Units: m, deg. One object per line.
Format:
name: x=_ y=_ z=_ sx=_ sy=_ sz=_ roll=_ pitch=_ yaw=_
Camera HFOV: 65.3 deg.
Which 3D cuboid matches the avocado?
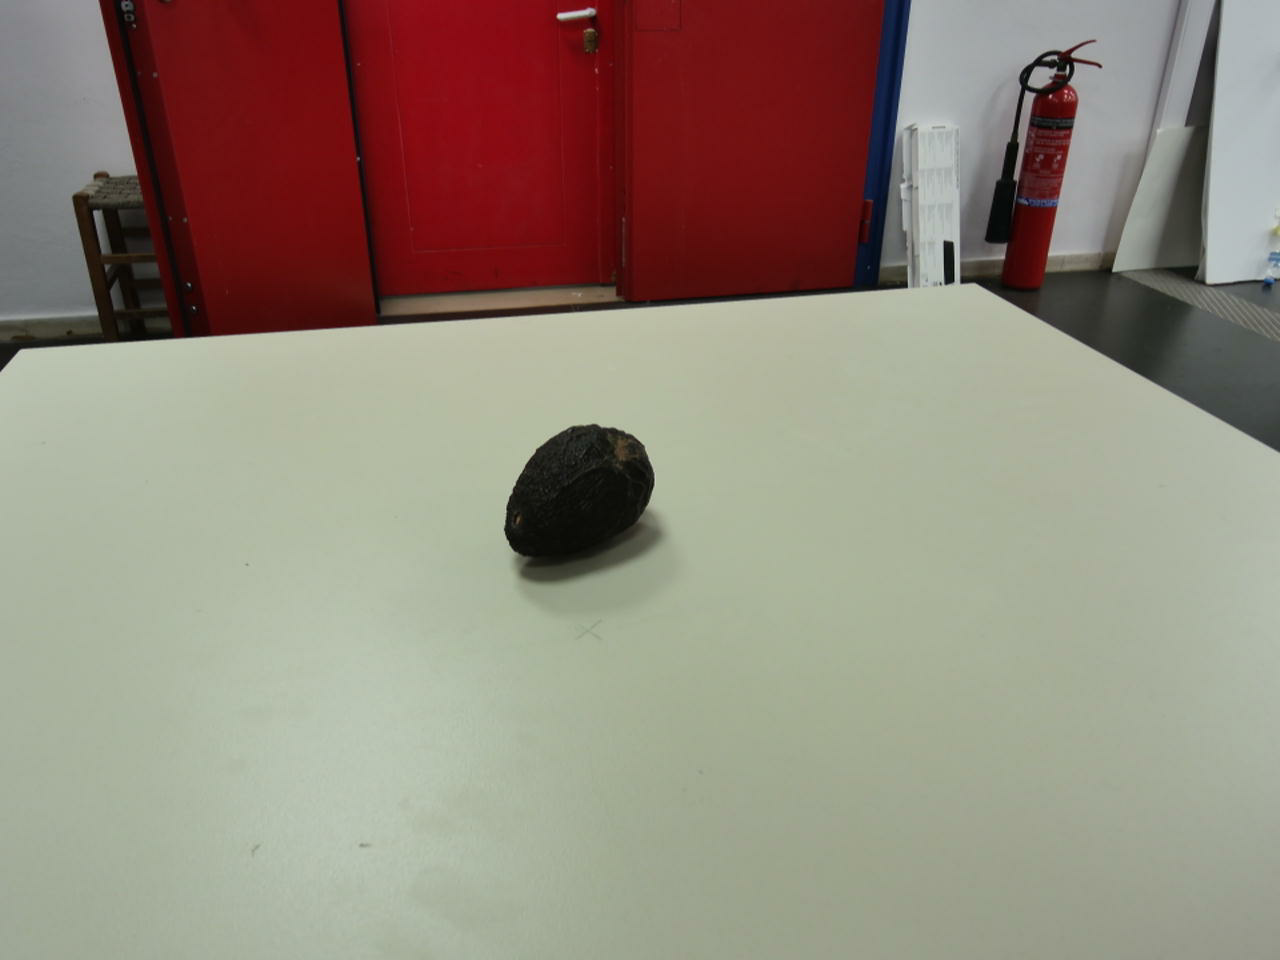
avocado: x=-0.033 y=0.005 z=0.524 sx=0.092 sy=0.062 sz=0.062 roll=-18 pitch=31 yaw=-32
